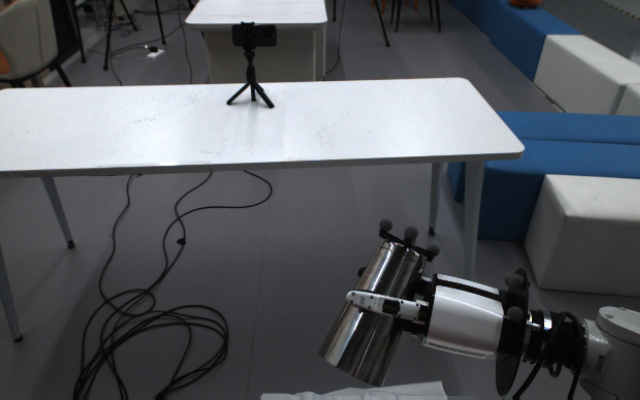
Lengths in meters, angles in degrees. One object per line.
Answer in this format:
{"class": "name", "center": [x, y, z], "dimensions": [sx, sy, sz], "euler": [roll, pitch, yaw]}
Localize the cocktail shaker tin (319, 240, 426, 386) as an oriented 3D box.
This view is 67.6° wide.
{"class": "cocktail shaker tin", "center": [0.078, 0.139, 0.636], "dimensions": [0.093, 0.093, 0.170], "euler": [21, 81, 25]}
